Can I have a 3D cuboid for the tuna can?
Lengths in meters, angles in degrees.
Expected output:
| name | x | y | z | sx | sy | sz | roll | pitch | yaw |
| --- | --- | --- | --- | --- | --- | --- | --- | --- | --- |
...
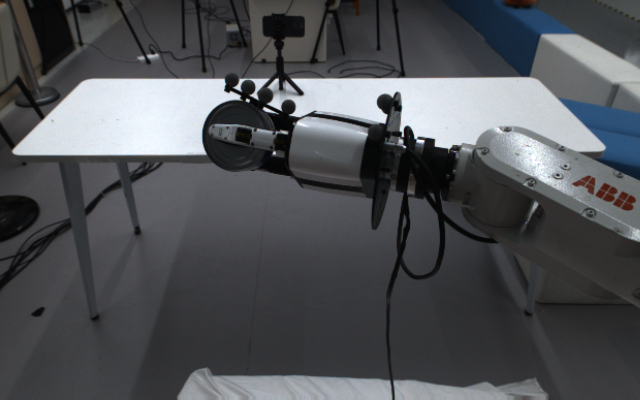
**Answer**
| name | x | y | z | sx | sy | sz | roll | pitch | yaw |
| --- | --- | --- | --- | --- | --- | --- | --- | --- | --- |
| tuna can | -0.097 | -0.077 | 0.596 | 0.085 | 0.085 | 0.034 | 10 | 4 | 11 |
